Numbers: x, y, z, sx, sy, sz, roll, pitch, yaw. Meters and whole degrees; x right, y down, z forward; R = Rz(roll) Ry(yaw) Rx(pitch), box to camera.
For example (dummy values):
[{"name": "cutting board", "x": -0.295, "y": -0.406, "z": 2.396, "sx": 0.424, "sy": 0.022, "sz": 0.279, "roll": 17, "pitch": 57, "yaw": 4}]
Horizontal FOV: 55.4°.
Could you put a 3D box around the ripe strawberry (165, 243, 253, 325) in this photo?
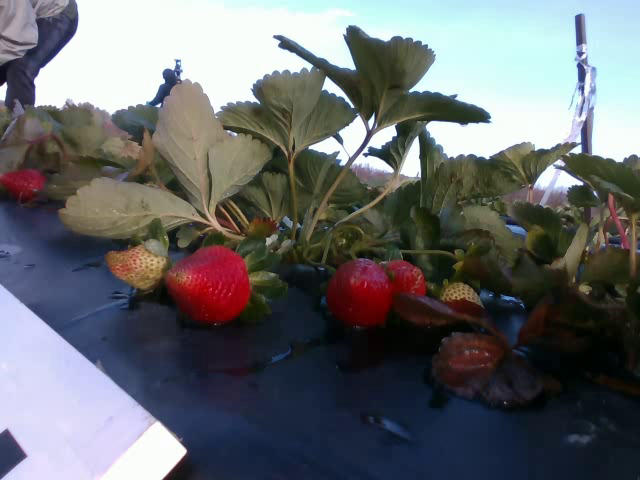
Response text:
[{"name": "ripe strawberry", "x": -0.067, "y": 0.020, "z": 0.329, "sx": 0.050, "sy": 0.050, "sz": 0.065, "roll": -17, "pitch": -21, "yaw": 17}]

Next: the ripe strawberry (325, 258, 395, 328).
[{"name": "ripe strawberry", "x": 0.019, "y": 0.029, "z": 0.332, "sx": 0.044, "sy": 0.041, "sz": 0.055, "roll": -30, "pitch": -18, "yaw": -3}]
